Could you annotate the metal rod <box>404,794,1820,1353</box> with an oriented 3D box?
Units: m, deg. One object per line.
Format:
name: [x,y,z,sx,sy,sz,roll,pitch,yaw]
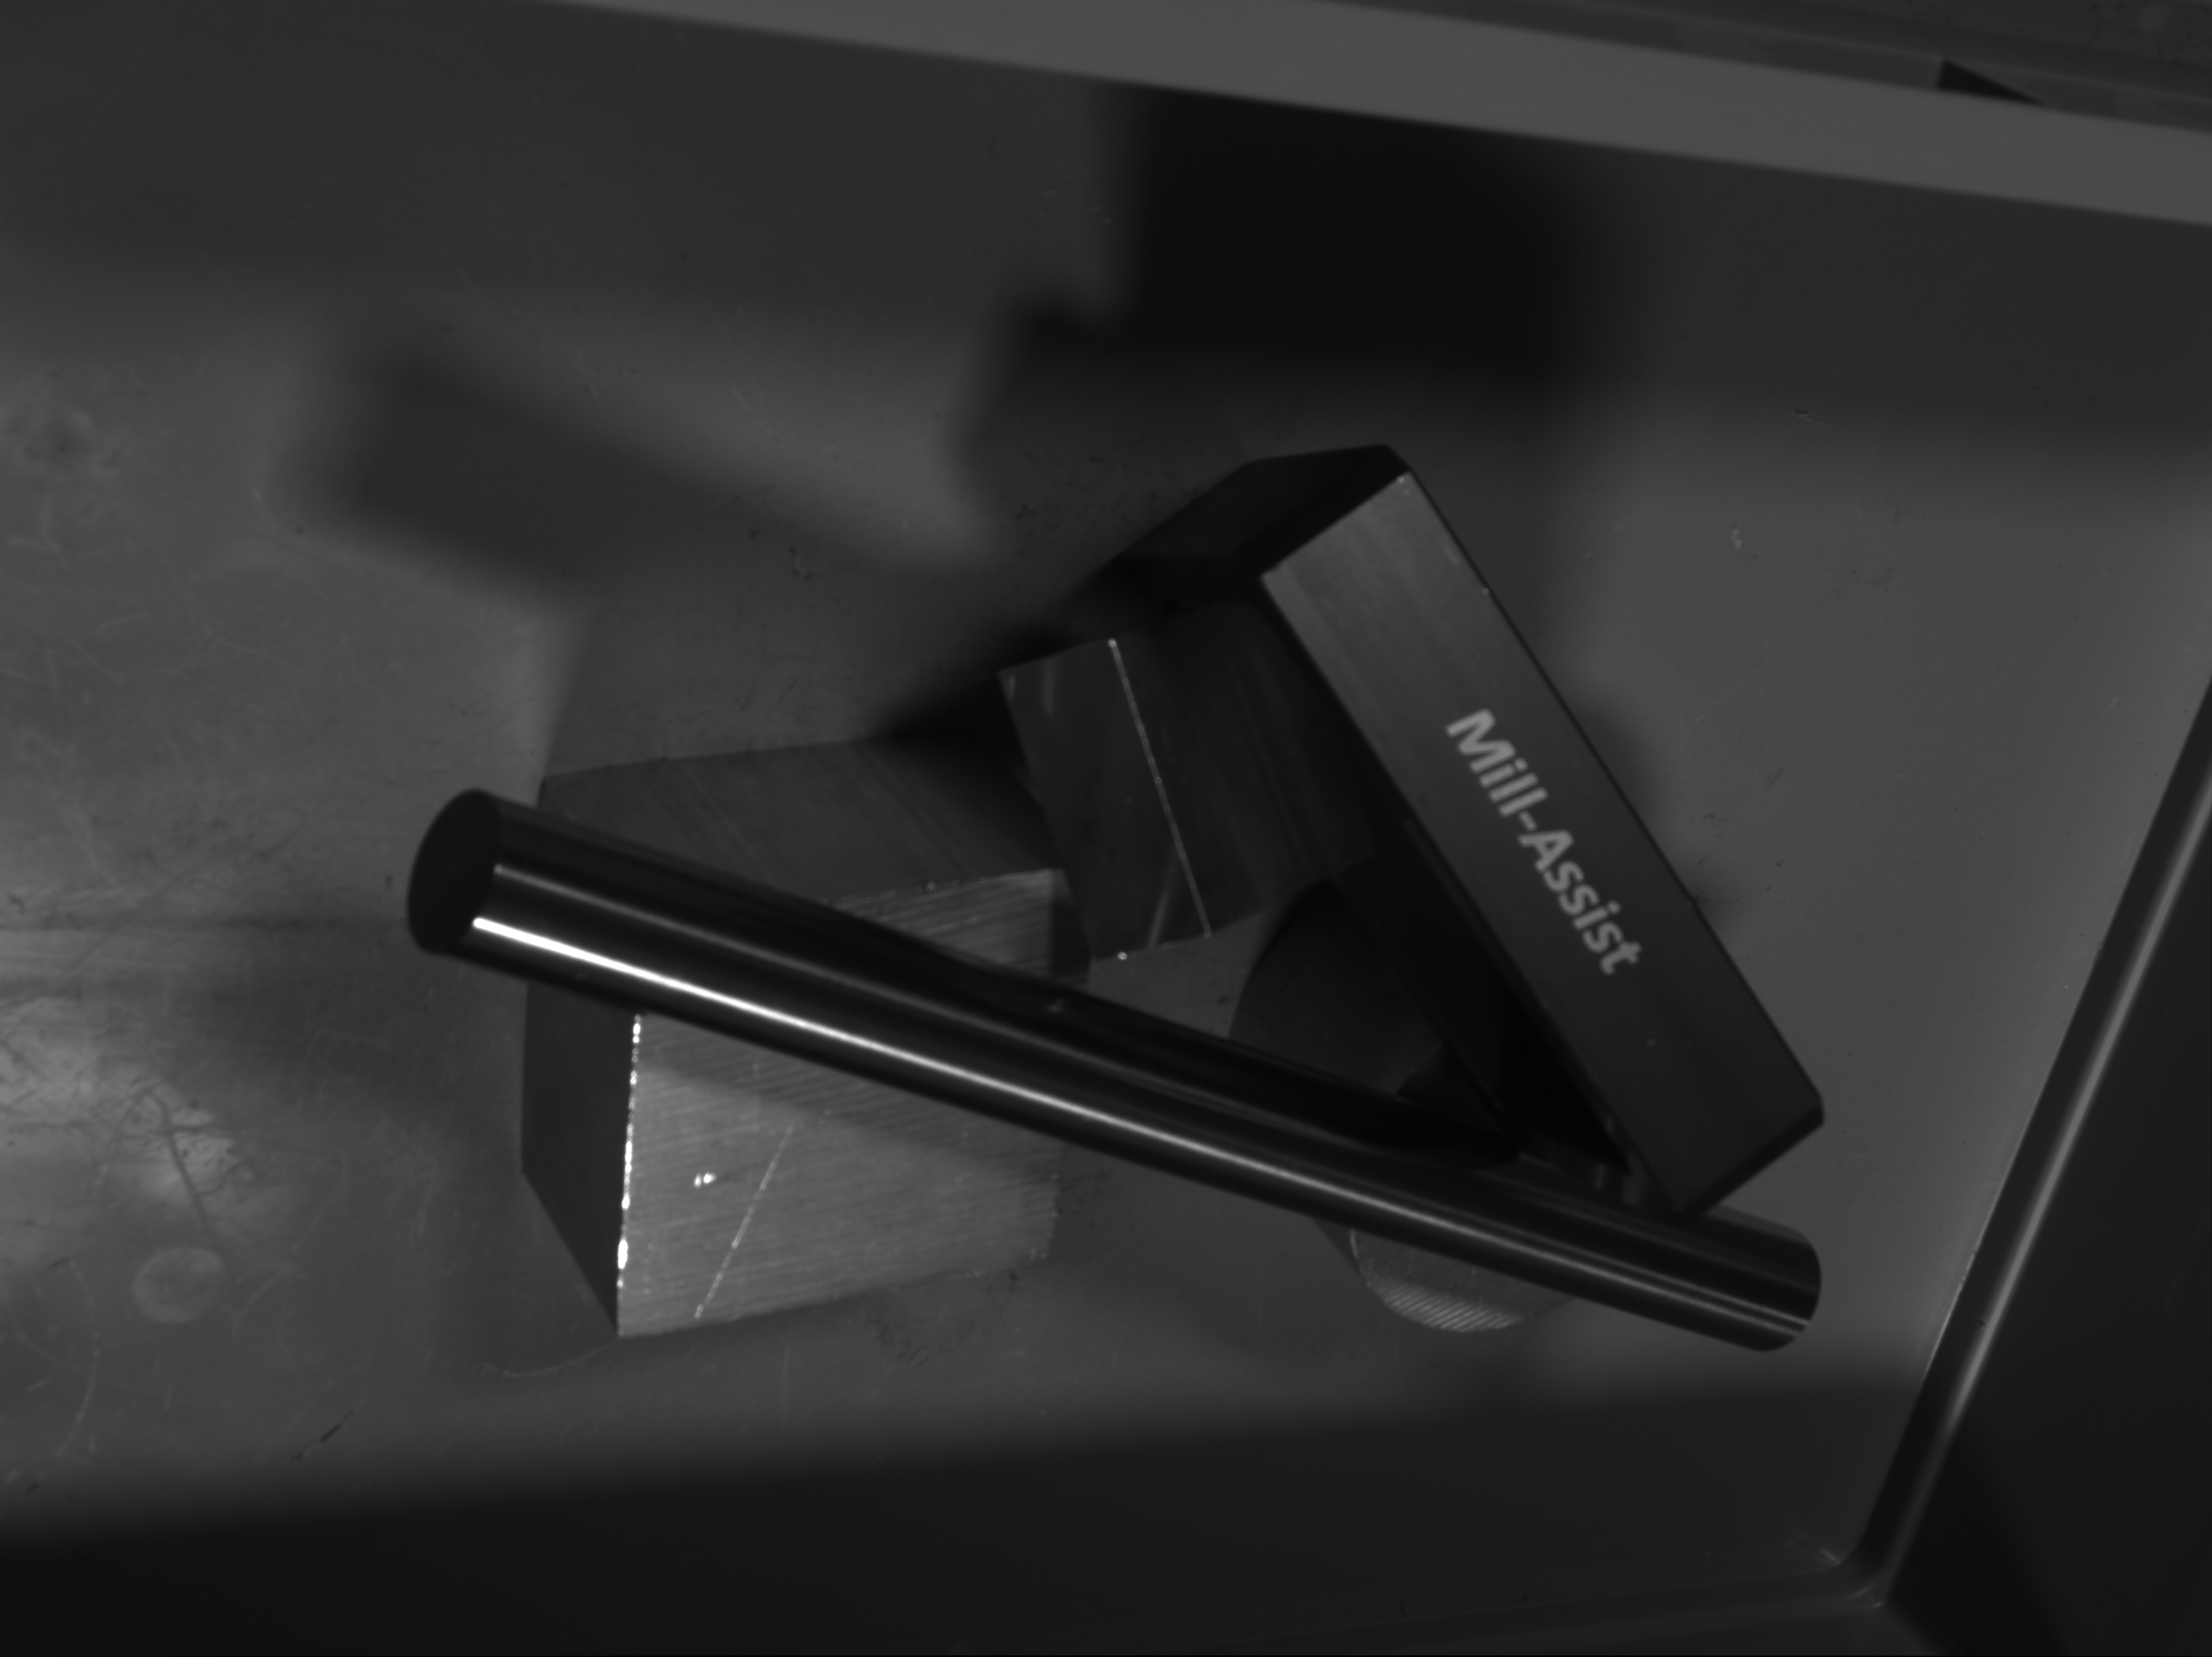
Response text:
metal rod: [0.017,0.048,0.623,0.301,0.025,0.025,20,107,-37]

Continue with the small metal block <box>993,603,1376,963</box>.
small metal block: [0.014,-0.011,0.607,0.050,0.025,0.050,-24,97,-50]

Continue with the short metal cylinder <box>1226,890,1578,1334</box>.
short metal cylinder: [0.069,0.050,0.704,0.080,0.050,0.080,-15,125,-22]

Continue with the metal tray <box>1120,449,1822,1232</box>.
metal tray: [0.058,0.000,0.609,0.030,0.090,0.130,-36,100,-7]

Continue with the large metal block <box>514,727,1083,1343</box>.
large metal block: [-0.053,0.034,0.624,0.080,0.050,0.080,-8,122,-26]
